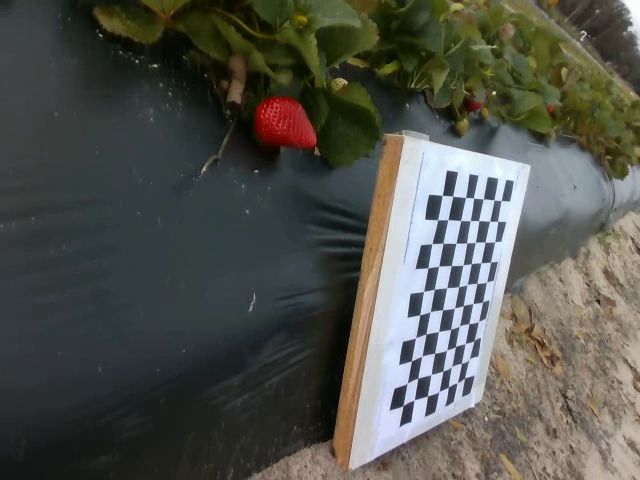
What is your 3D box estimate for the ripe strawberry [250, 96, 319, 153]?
[{"bbox_3d":[-0.018,-0.068,0.340,0.046,0.037,0.037,41,-23,6],"label":"ripe strawberry"}]
